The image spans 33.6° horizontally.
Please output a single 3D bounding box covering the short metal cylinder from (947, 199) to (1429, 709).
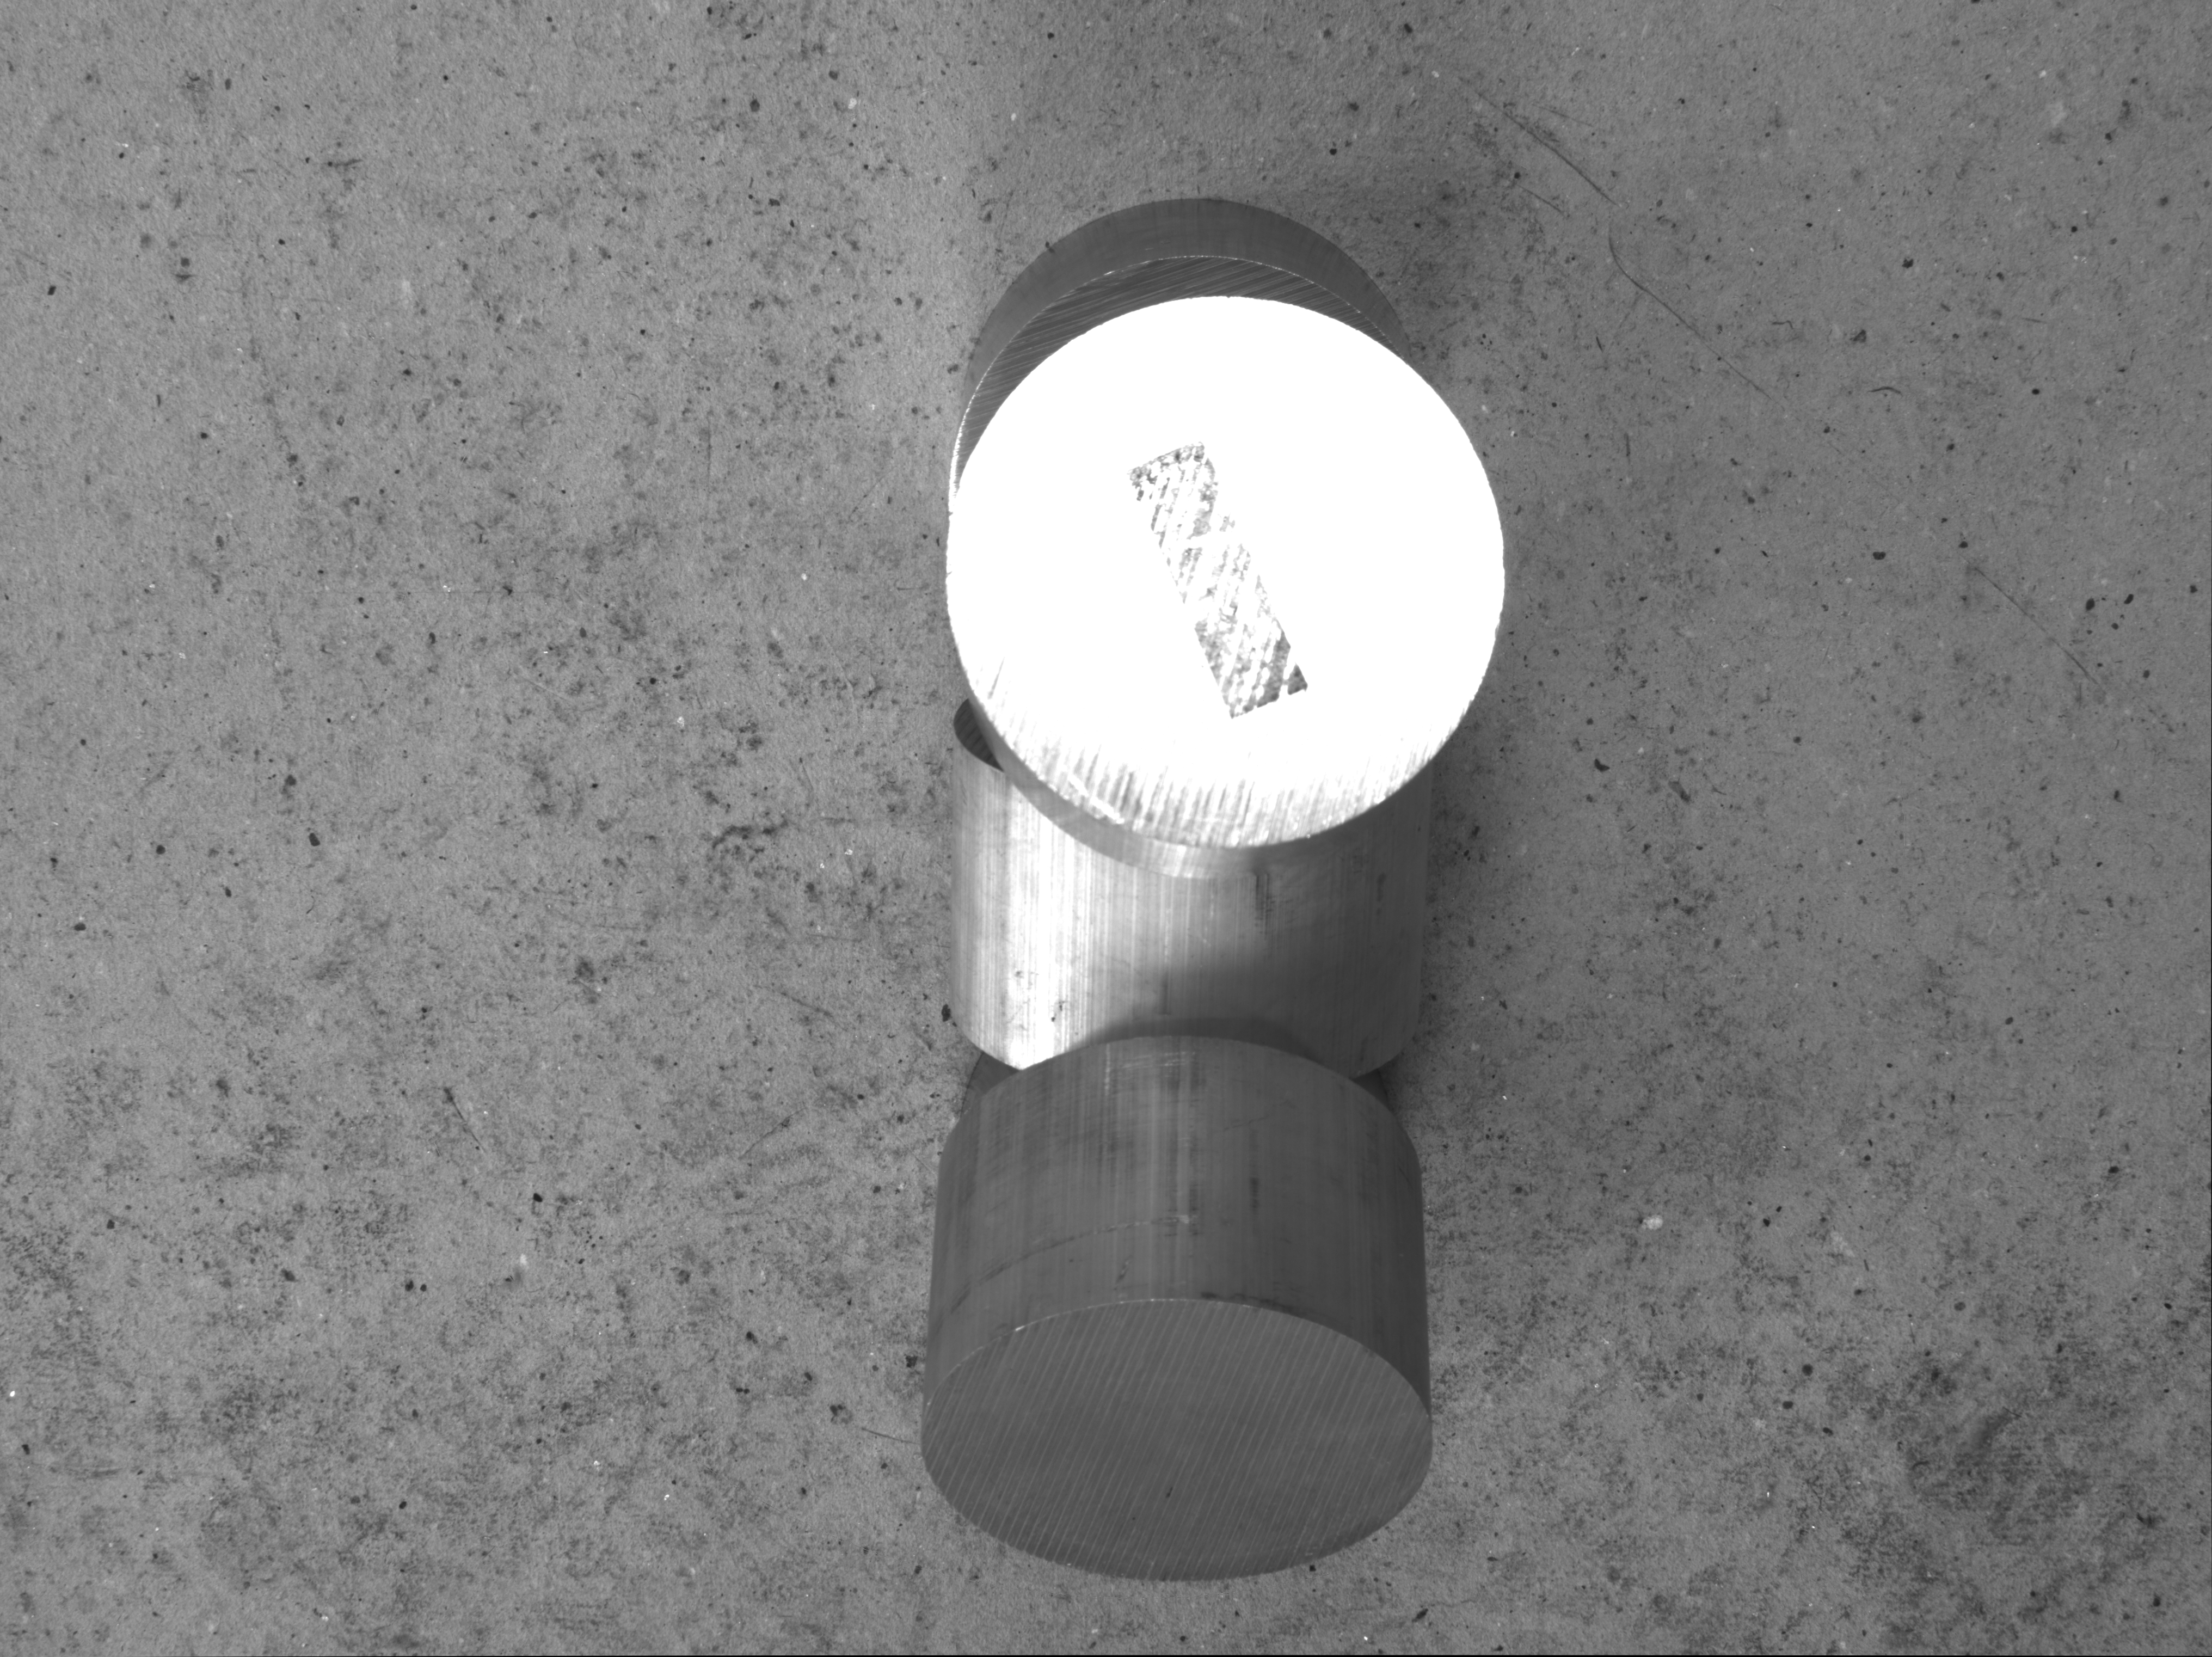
[{"bbox_3d":[0.015,-0.060,0.609,0.080,0.050,0.080,0,110,0],"label":"short metal cylinder"}]

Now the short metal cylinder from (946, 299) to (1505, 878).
[{"bbox_3d":[0.017,-0.034,0.549,0.080,0.050,0.080,0,85,-1],"label":"short metal cylinder"}]

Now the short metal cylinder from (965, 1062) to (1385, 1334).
[{"bbox_3d":[0.013,0.068,0.655,0.080,0.050,0.080,0,110,0],"label":"short metal cylinder"}]

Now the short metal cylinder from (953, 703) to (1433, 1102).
[{"bbox_3d":[0.014,0.007,0.618,0.080,0.080,0.050,1,110,0],"label":"short metal cylinder"}]

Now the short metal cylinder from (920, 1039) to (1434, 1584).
[{"bbox_3d":[0.012,0.079,0.589,0.080,0.050,0.080,1,138,1],"label":"short metal cylinder"}]
